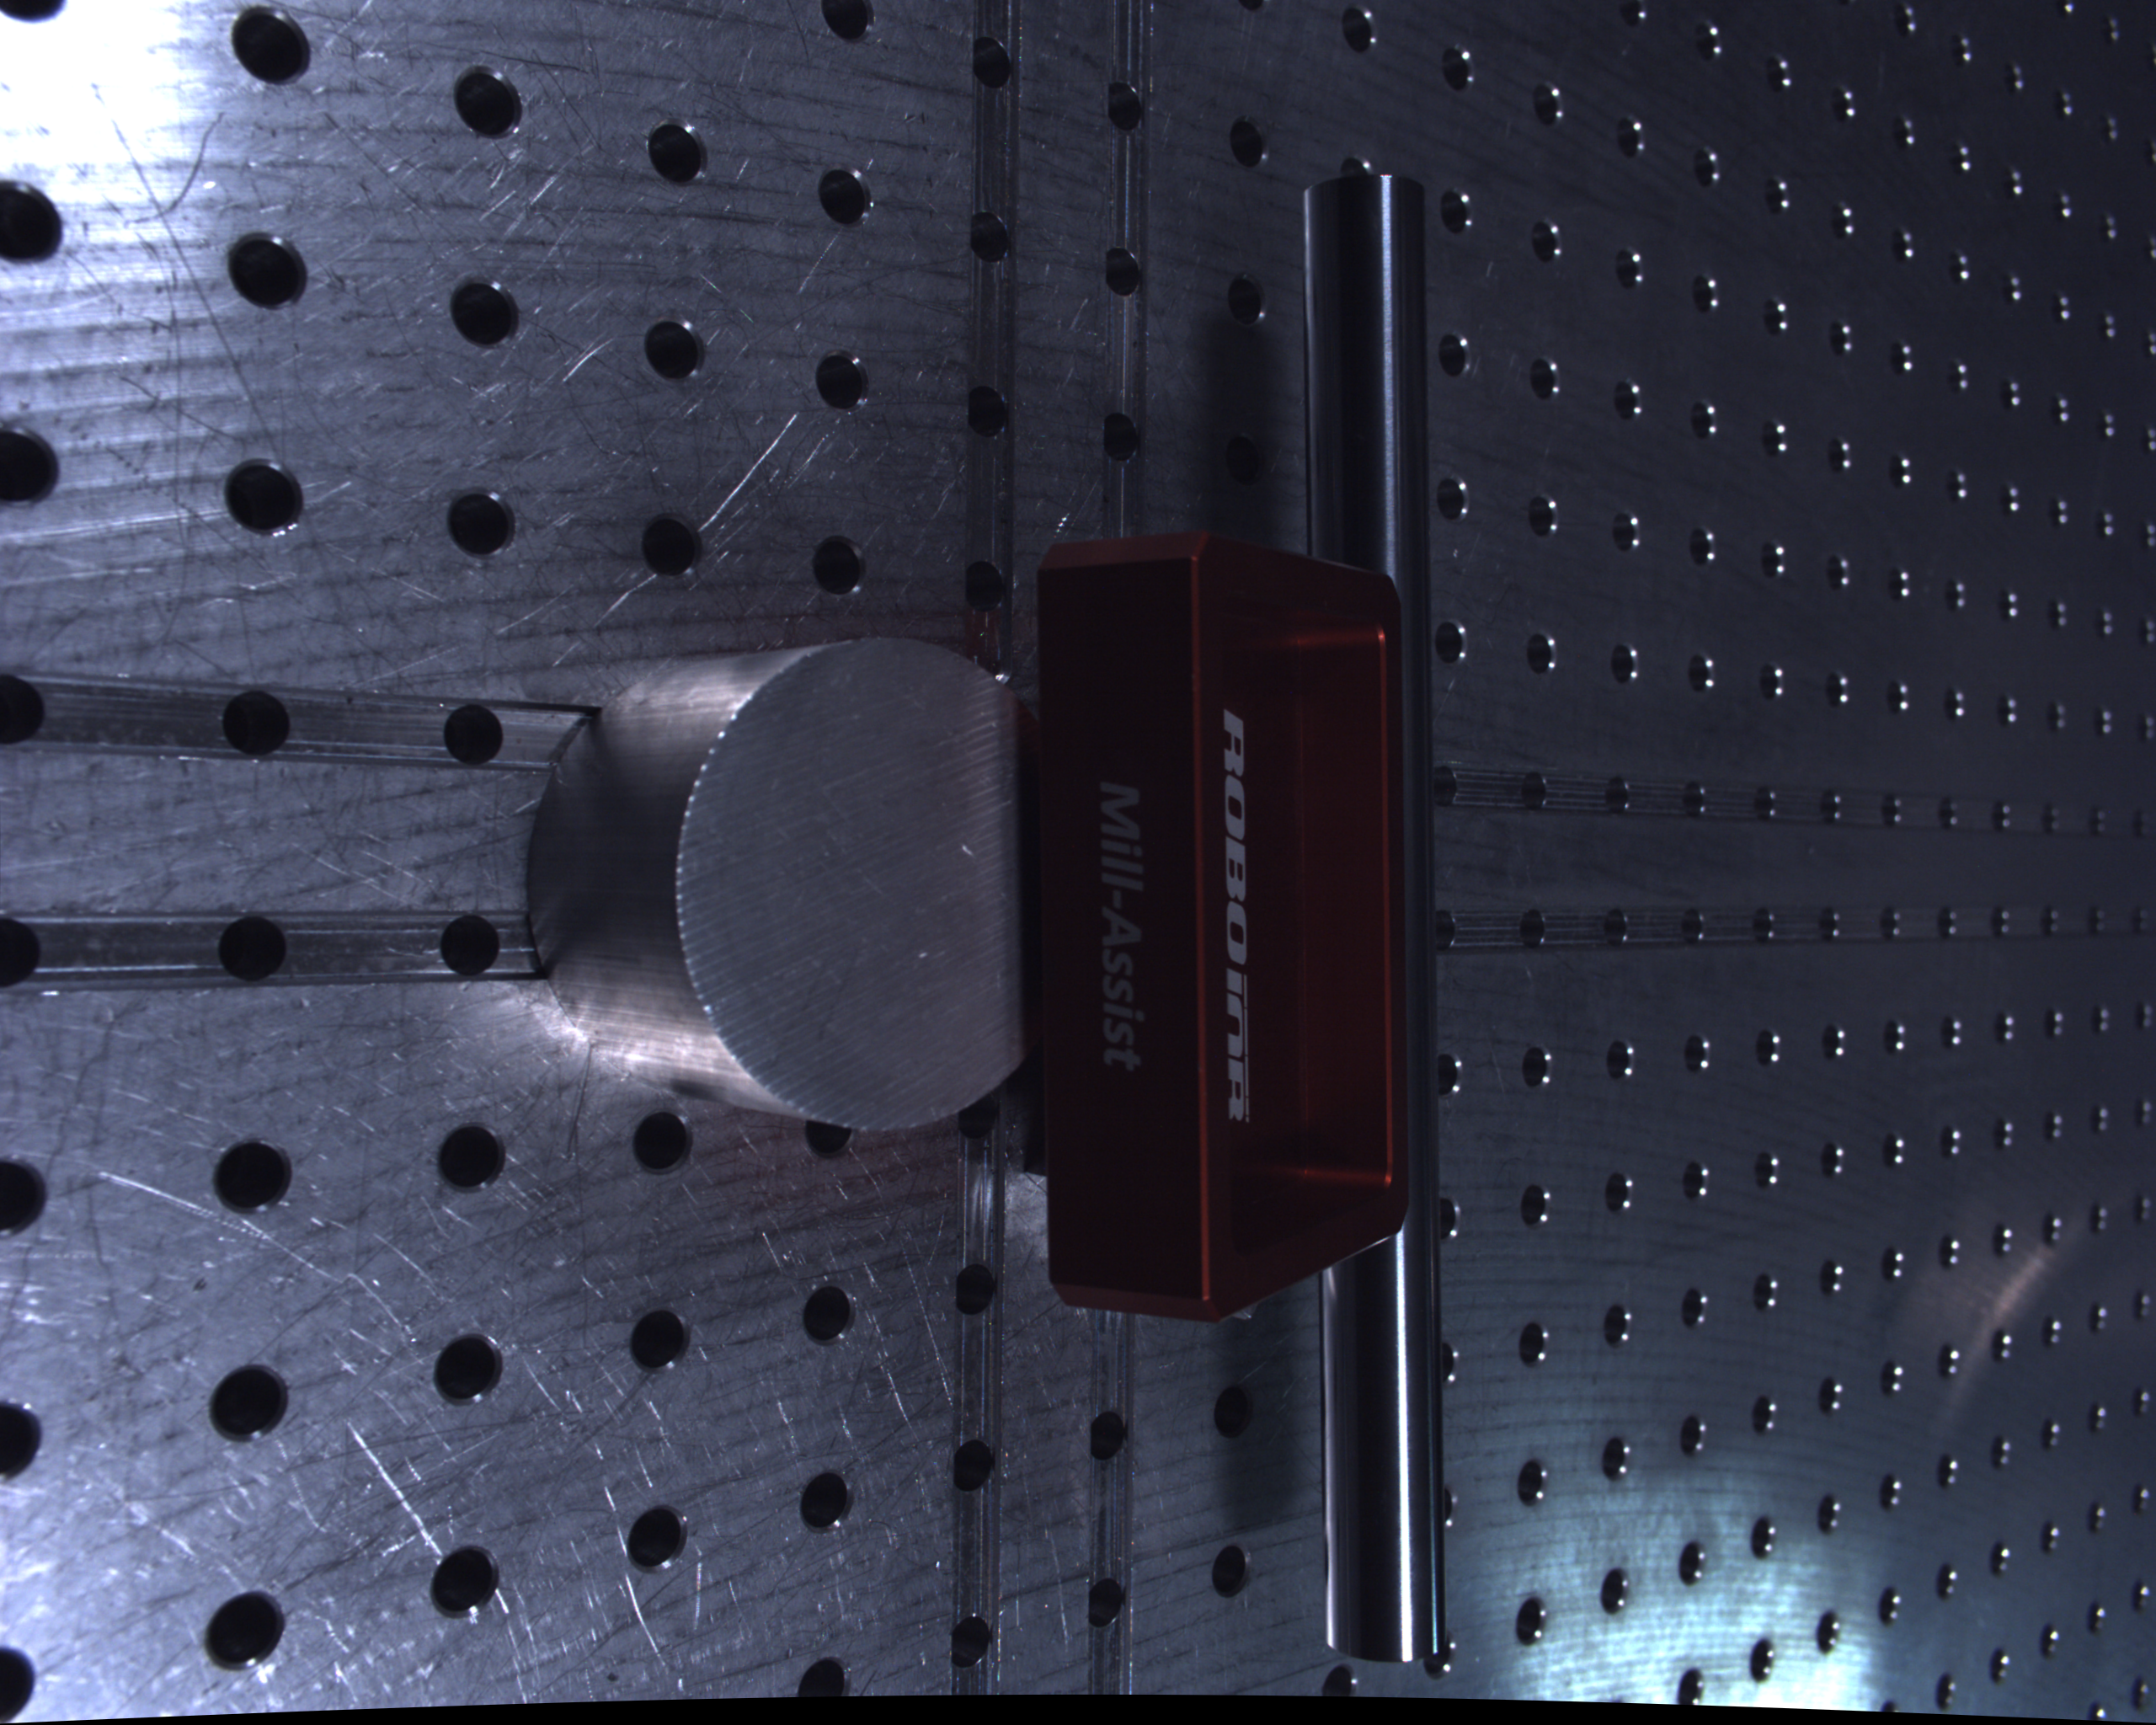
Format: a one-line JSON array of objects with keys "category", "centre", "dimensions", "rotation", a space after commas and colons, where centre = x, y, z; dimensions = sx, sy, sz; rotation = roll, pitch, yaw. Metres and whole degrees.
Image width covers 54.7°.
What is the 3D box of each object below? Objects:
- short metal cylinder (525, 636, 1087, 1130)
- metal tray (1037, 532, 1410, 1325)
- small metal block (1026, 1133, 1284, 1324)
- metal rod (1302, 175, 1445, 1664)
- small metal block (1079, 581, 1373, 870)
[{"category": "short metal cylinder", "centre": [-0.045, 0.003, 0.355], "dimensions": [0.081, 0.050, 0.079], "rotation": [0, 90, -40]}, {"category": "metal tray", "centre": [0.029, 0.010, 0.381], "dimensions": [0.090, 0.030, 0.129], "rotation": [-3, 92, -60]}, {"category": "small metal block", "centre": [0.025, 0.059, 0.431], "dimensions": [0.050, 0.025, 0.050], "rotation": [47, 62, -30]}, {"category": "metal rod", "centre": [0.061, 0.012, 0.430], "dimensions": [0.025, 0.025, 0.298], "rotation": [-2, 91, -40]}, {"category": "small metal block", "centre": [0.032, -0.029, 0.438], "dimensions": [0.050, 0.025, 0.050], "rotation": [-19, 103, -39]}]
